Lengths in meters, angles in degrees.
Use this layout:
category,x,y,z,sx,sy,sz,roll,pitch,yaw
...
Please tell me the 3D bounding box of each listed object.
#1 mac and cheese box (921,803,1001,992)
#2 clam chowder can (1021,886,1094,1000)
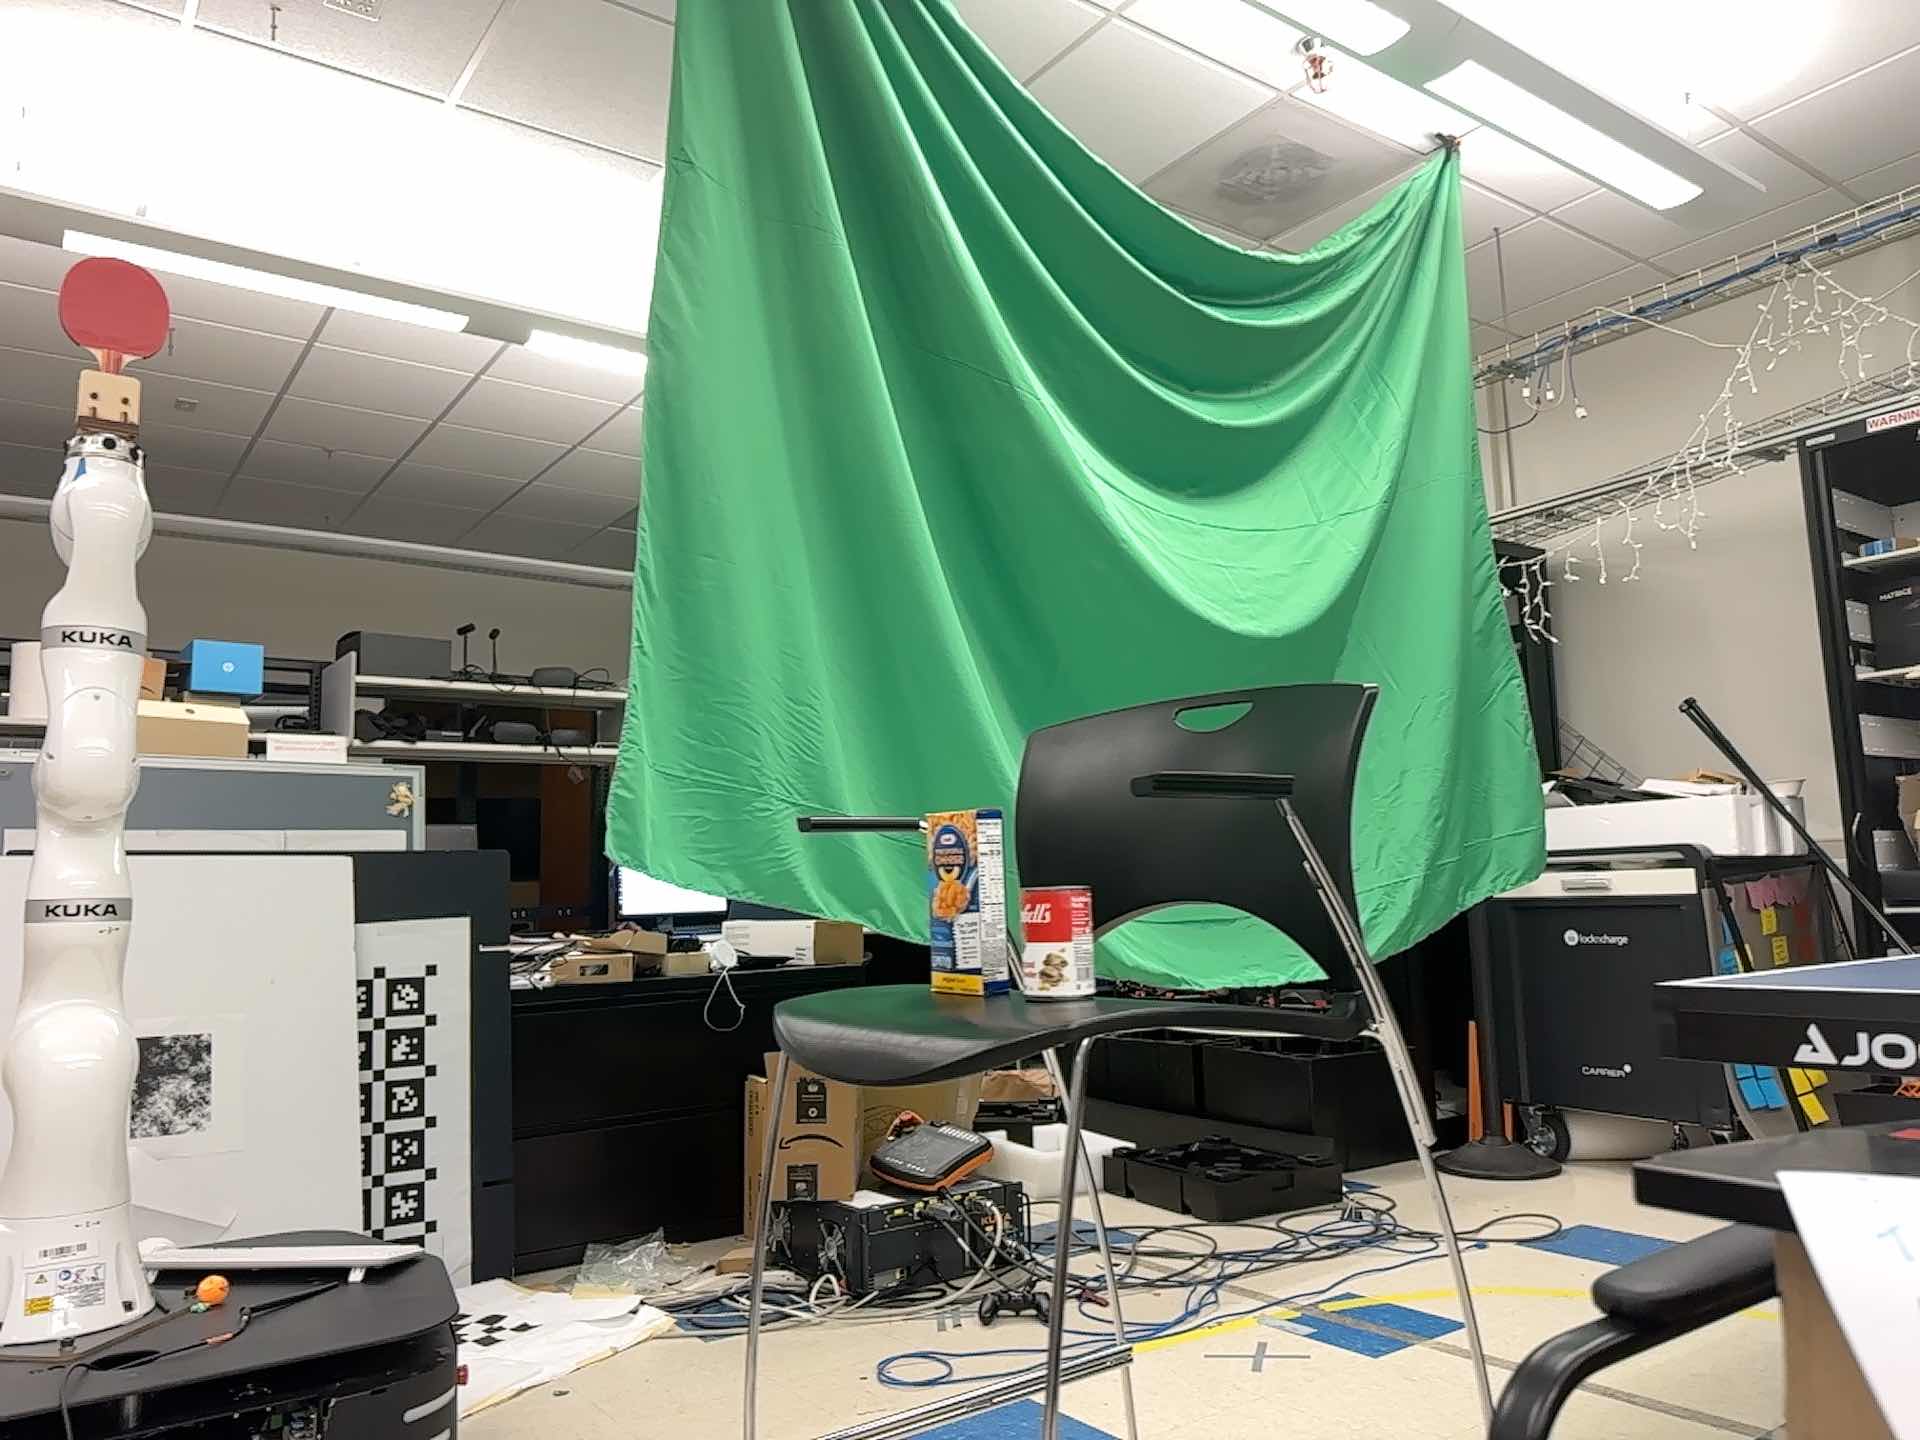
category,x,y,z,sx,sy,sz,roll,pitch,yaw
mac and cheese box,0.000,0.178,1.362,0.035,0.181,0.088,0,-5,-30
clam chowder can,0.091,0.207,1.258,0.068,0.102,0.068,-1,-6,0
